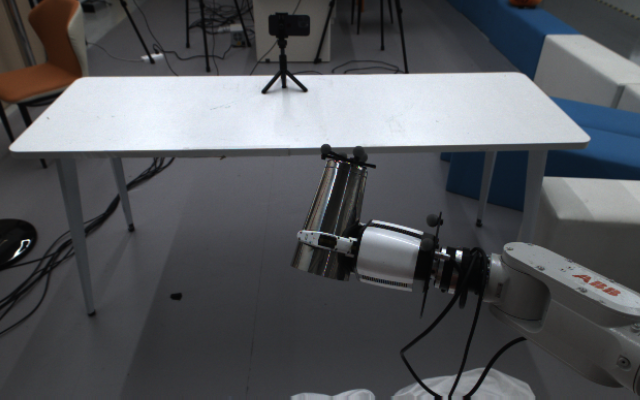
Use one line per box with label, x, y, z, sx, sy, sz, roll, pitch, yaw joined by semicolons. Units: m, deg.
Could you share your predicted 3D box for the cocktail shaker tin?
cocktail shaker tin;0.020;0.029;0.742;0.093;0.170;0.093;15;-4;1
